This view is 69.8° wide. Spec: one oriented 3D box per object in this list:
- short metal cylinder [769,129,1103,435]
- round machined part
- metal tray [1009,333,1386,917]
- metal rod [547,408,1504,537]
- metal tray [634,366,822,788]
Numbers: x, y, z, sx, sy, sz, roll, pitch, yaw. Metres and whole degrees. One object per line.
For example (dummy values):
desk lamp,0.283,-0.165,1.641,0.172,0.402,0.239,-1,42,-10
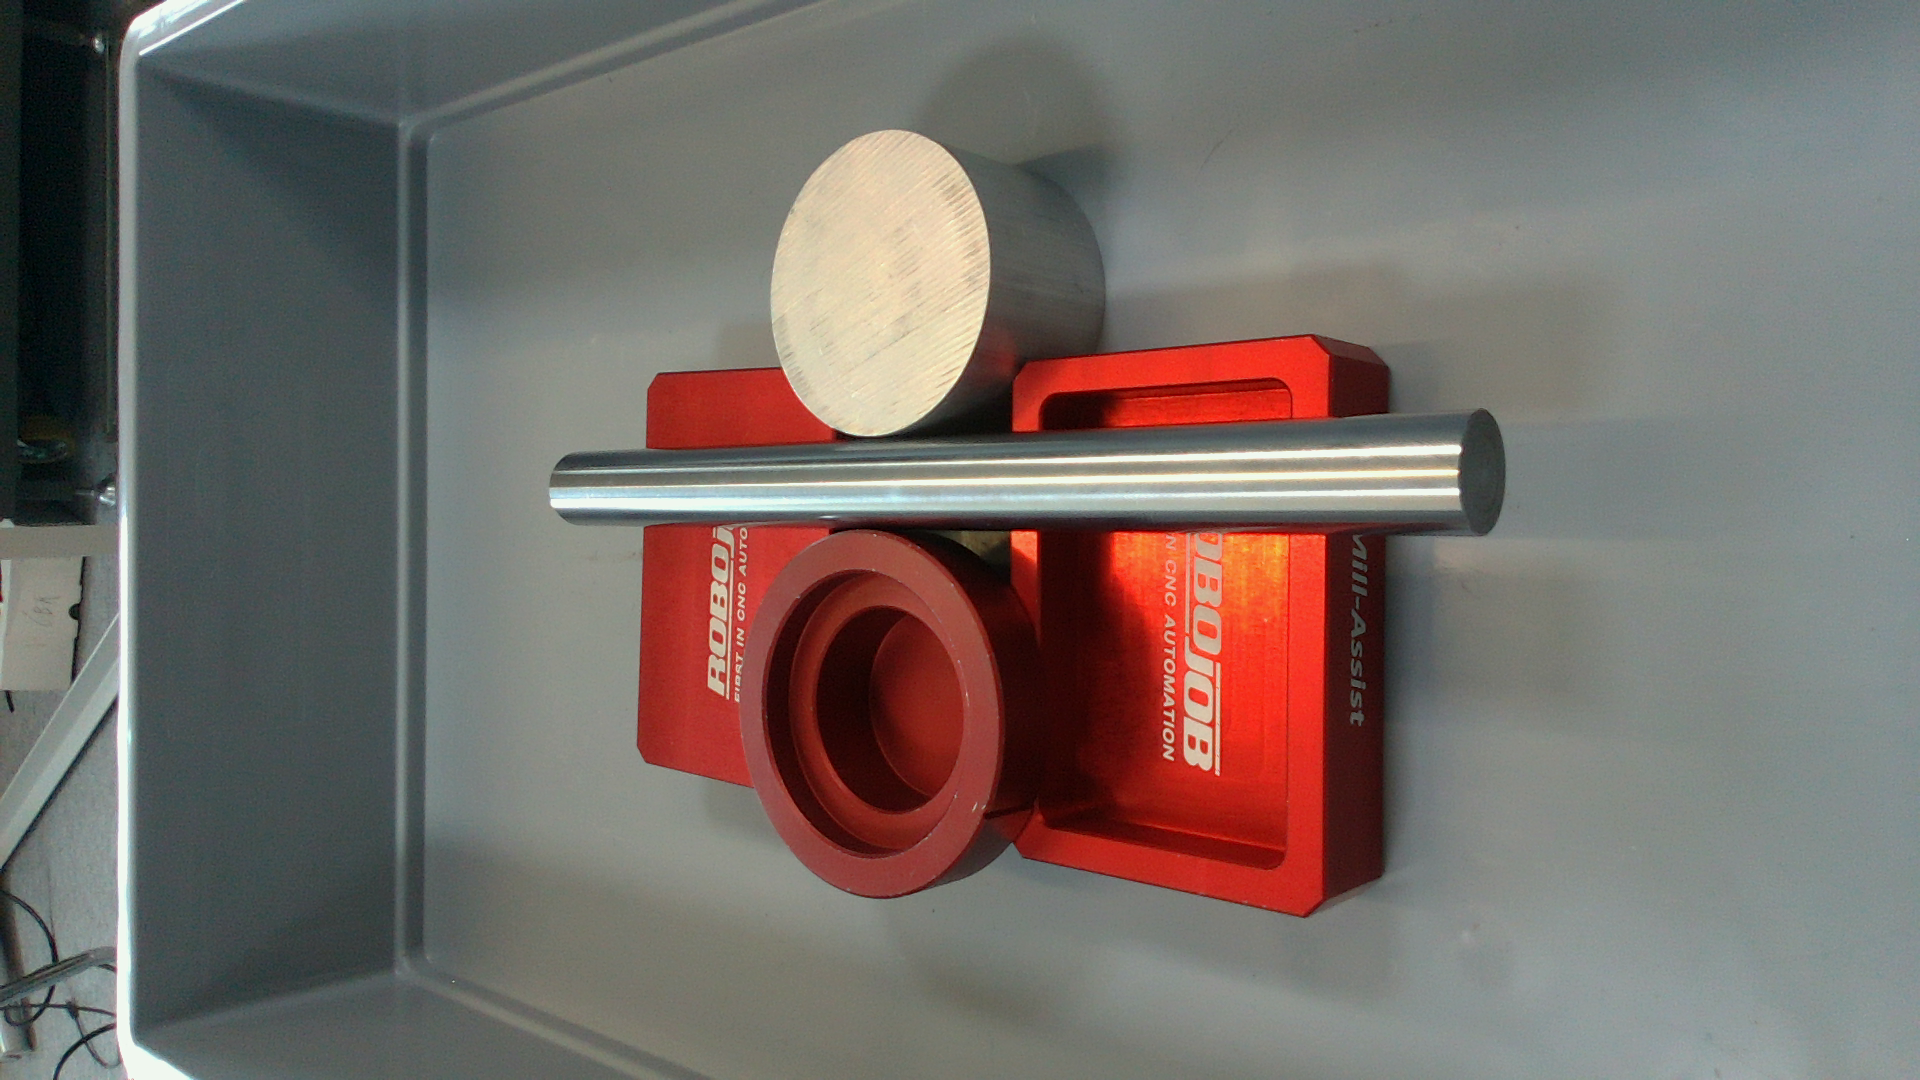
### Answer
short metal cylinder,-0.007,-0.068,0.382,0.080,0.050,0.080,0,90,40
round machined part,-0.014,0.046,0.382,0.098,0.042,0.098,0,90,40
metal tray,0.056,0.018,0.342,0.090,0.030,0.130,1,91,40
metal rod,-0.013,-0.015,0.364,0.299,0.025,0.025,1,91,40
metal tray,-0.064,0.011,0.442,0.090,0.030,0.130,3,92,40
